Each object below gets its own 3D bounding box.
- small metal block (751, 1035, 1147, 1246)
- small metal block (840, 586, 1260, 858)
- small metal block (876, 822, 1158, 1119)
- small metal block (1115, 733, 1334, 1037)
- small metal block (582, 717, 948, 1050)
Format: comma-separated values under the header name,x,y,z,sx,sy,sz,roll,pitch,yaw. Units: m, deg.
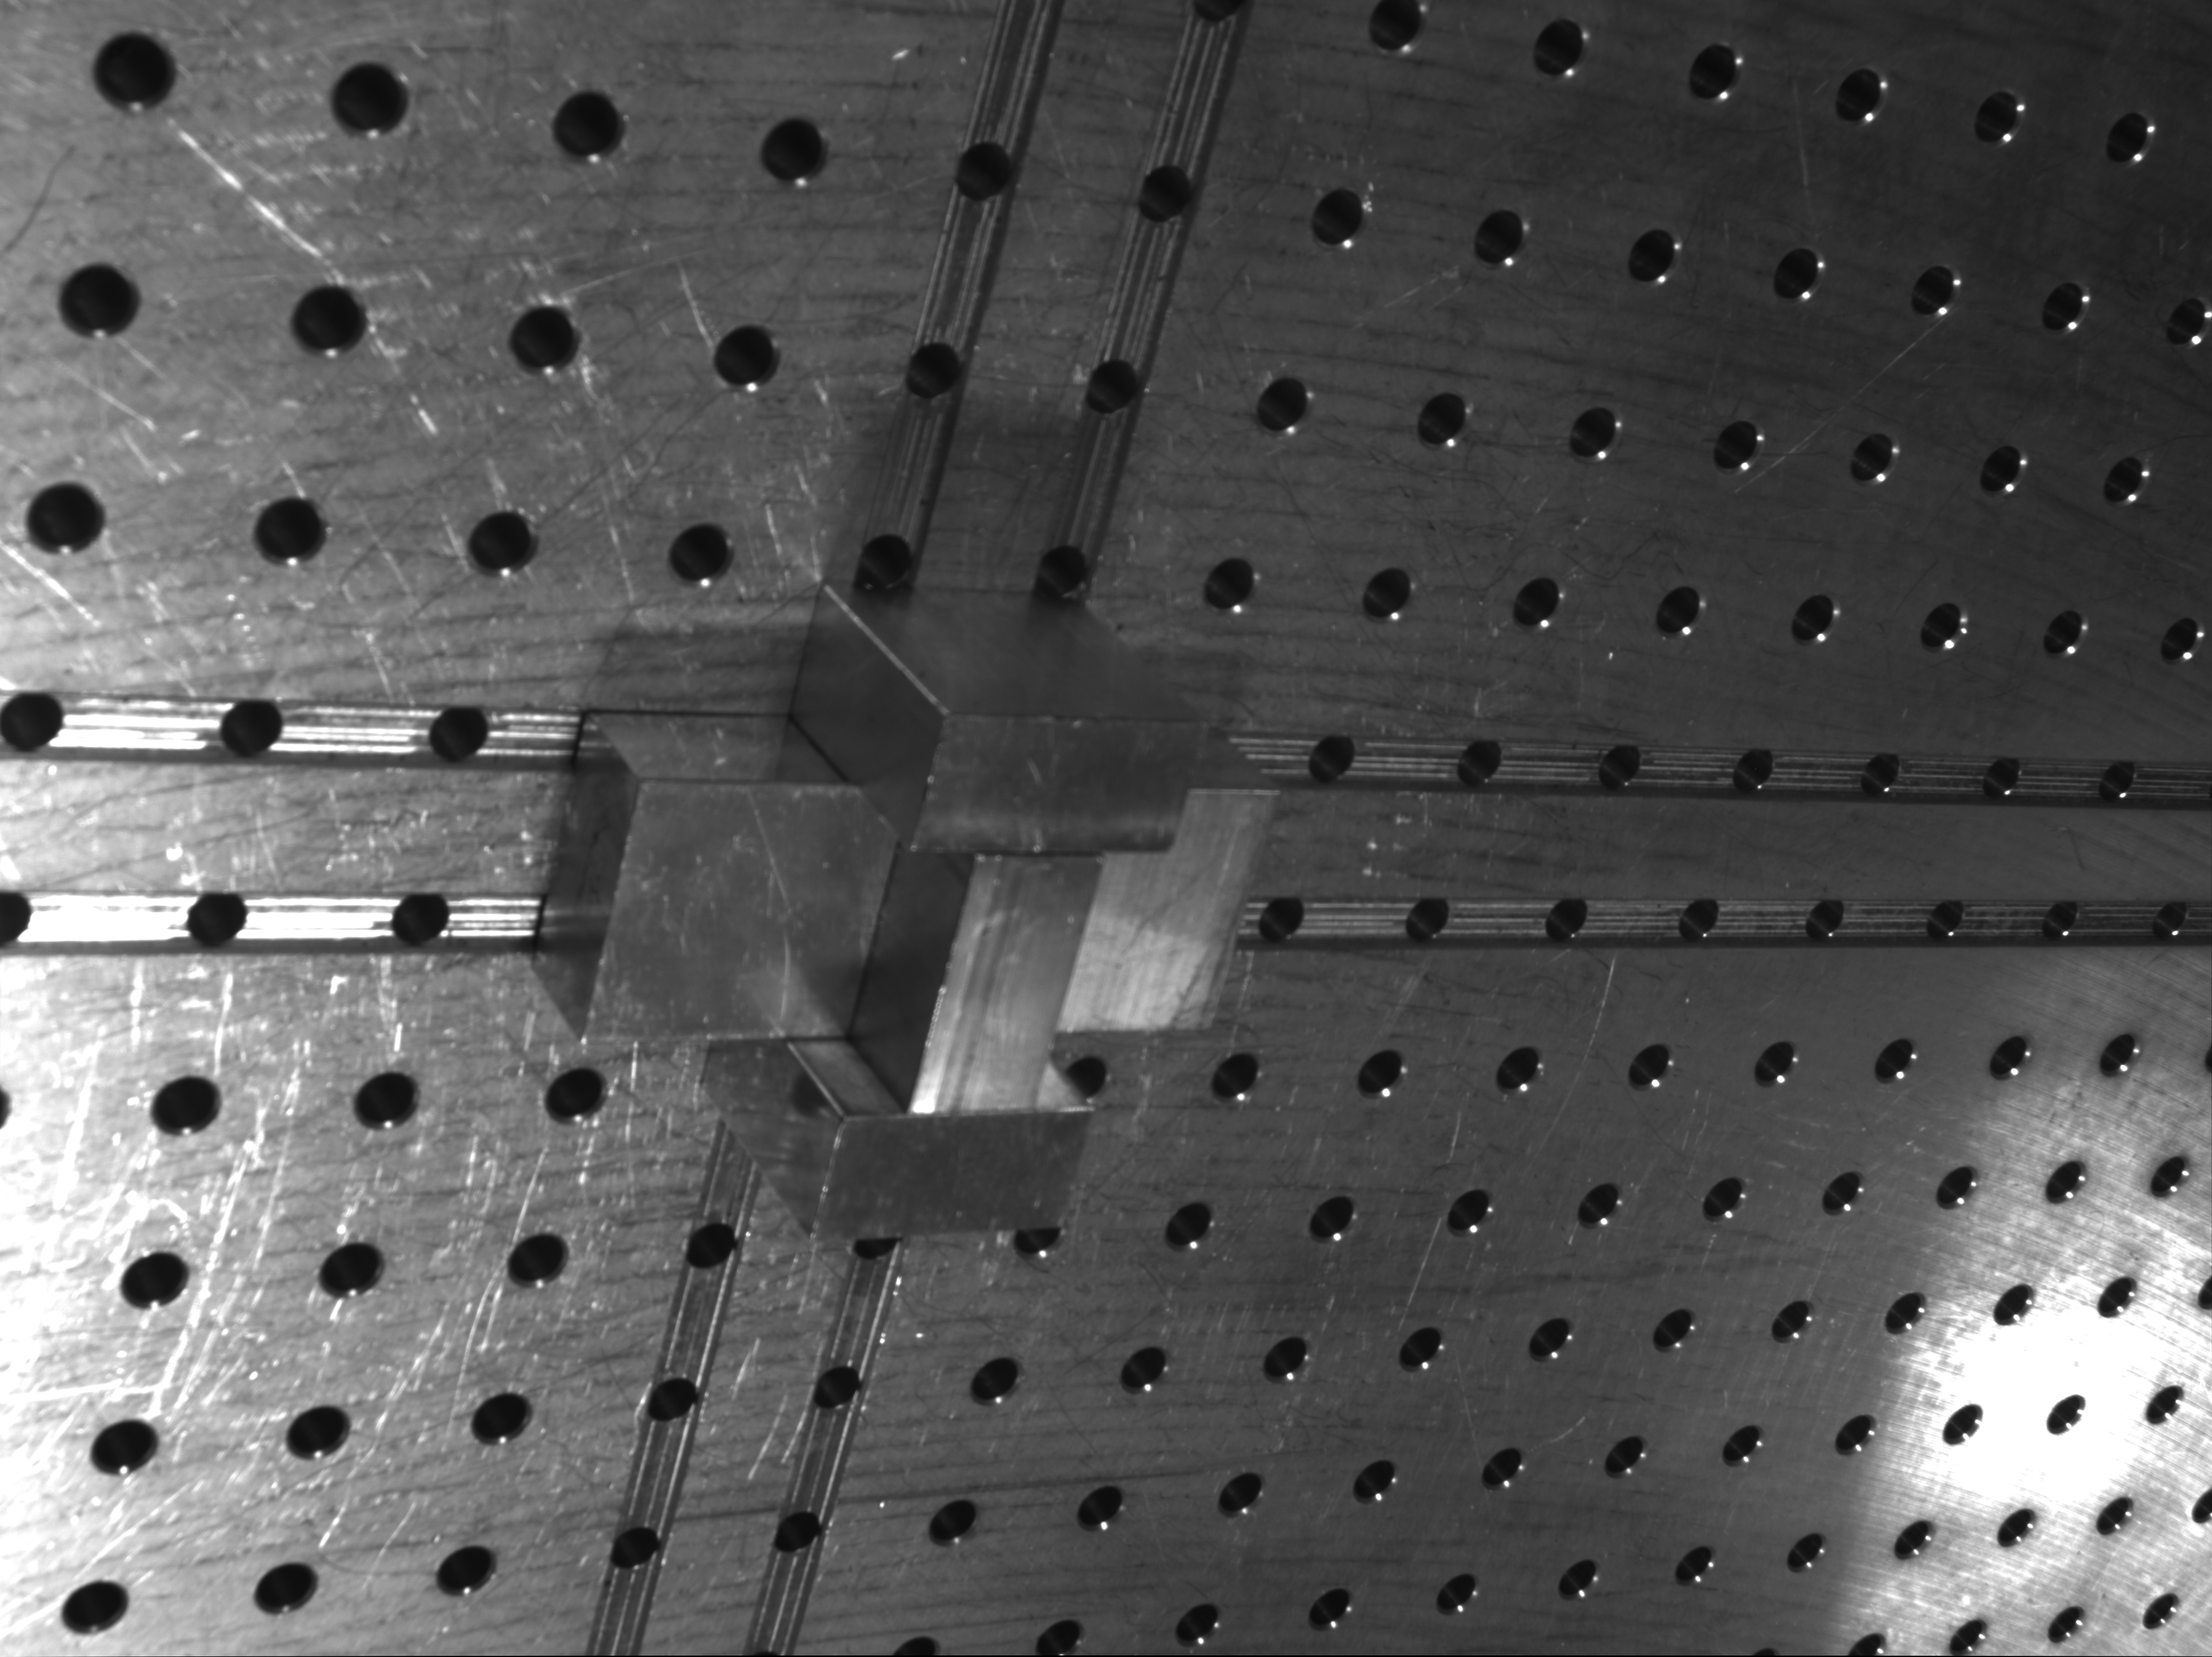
name,x,y,z,sx,sy,sz,roll,pitch,yaw
small metal block,-0.028,0.049,0.651,0.050,0.050,0.025,1,118,-31
small metal block,-0.010,-0.018,0.620,0.050,0.050,0.025,1,118,-31
small metal block,-0.019,0.015,0.635,0.025,0.050,0.050,1,118,-31
small metal block,0.008,0.010,0.664,0.050,0.025,0.050,1,118,-31
small metal block,-0.057,0.009,0.626,0.050,0.025,0.050,1,118,-31
